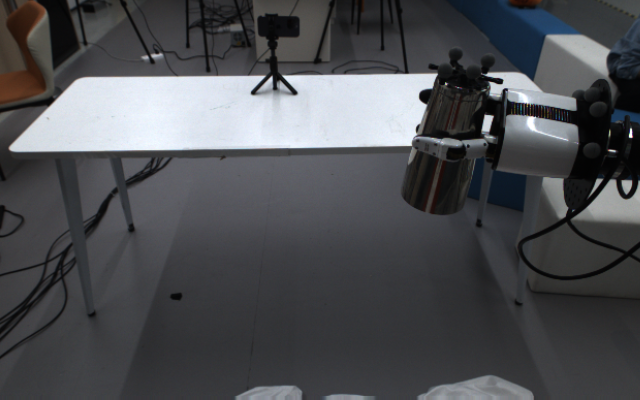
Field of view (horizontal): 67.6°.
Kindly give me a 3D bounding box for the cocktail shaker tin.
[{"bbox_3d":[0.168,-0.077,0.634,0.093,0.170,0.093,4,36,-3],"label":"cocktail shaker tin"}]
